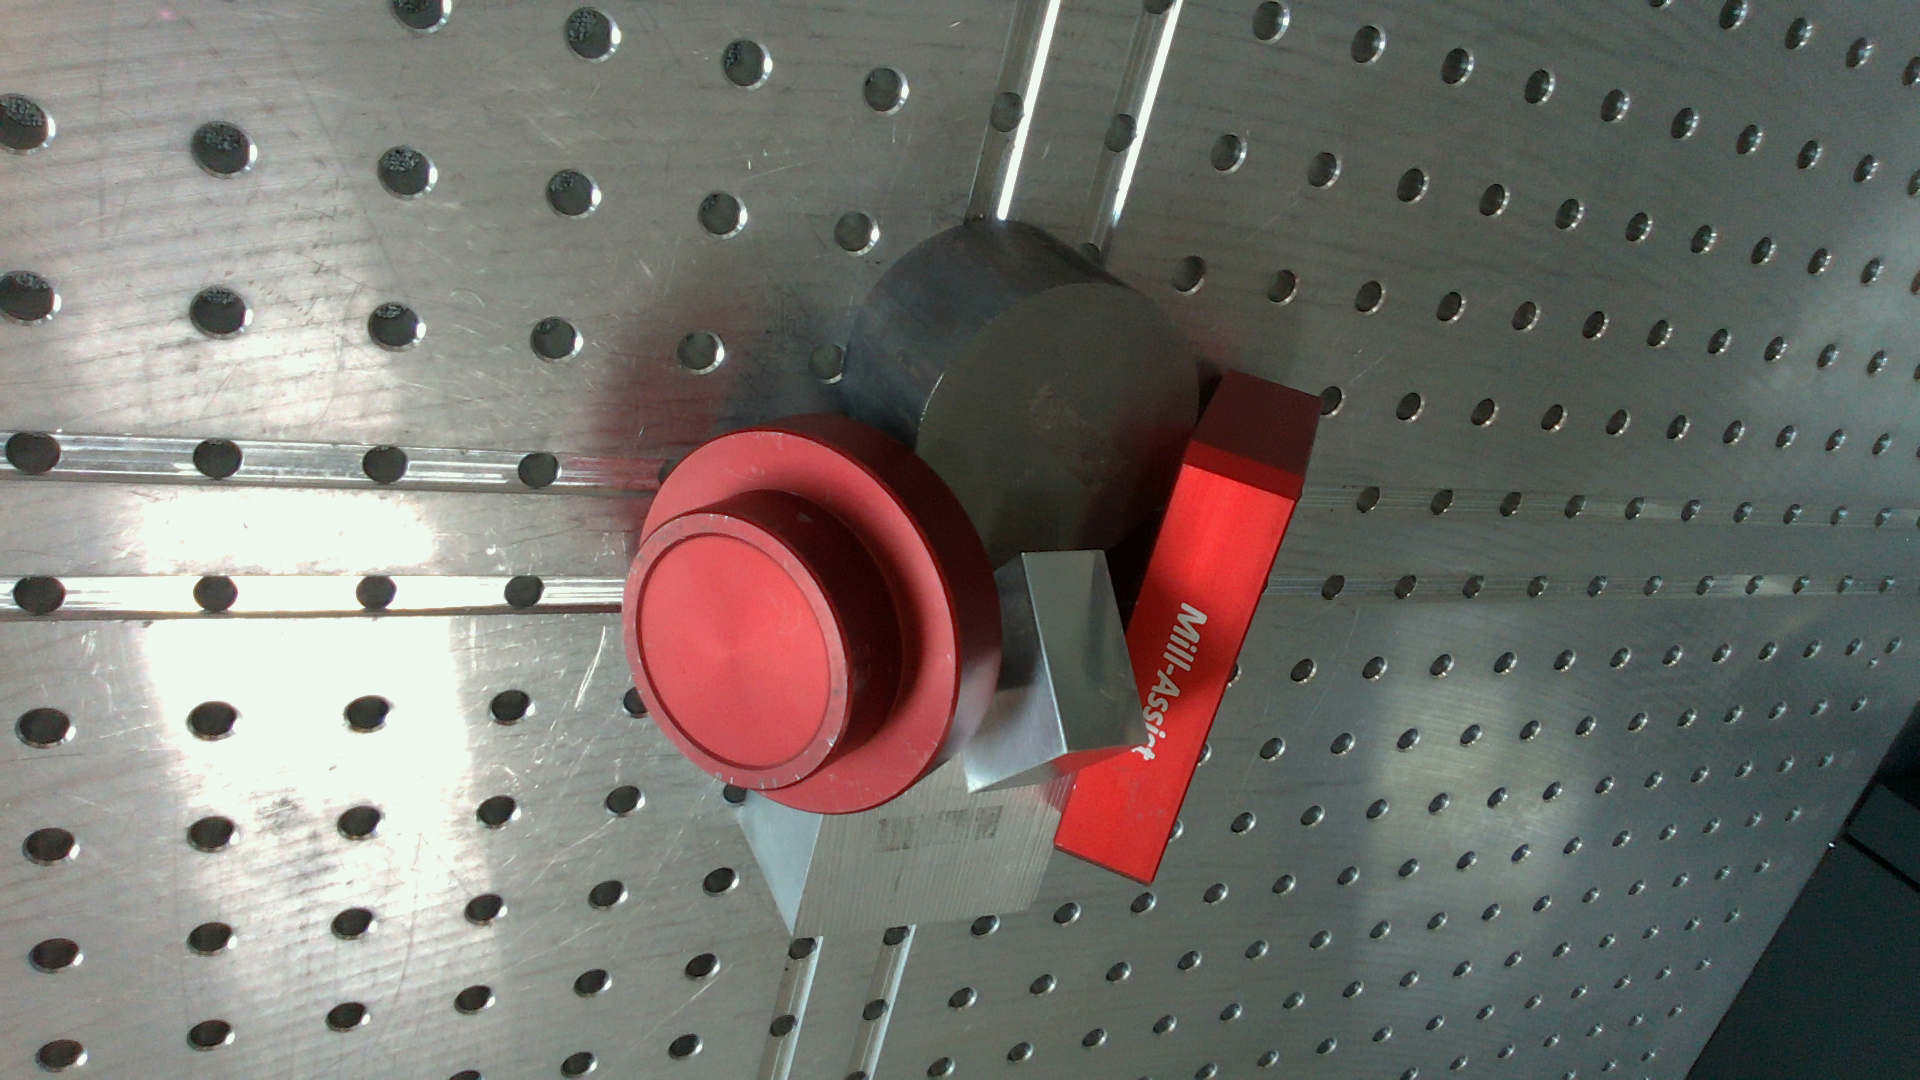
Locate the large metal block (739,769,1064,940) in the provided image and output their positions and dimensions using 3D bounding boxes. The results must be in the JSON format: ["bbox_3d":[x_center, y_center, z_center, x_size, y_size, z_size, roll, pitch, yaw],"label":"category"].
[{"bbox_3d":[-0.014,0.067,0.409,0.080,0.050,0.080,2,117,-29],"label":"large metal block"}]

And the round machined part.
[{"bbox_3d":[-0.043,0.022,0.330,0.042,0.098,0.098,-26,137,-56],"label":"round machined part"}]

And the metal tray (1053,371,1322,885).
[{"bbox_3d":[0.067,0.024,0.403,0.030,0.090,0.130,20,115,10],"label":"metal tray"}]

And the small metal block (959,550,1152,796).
[{"bbox_3d":[0.019,0.035,0.353,0.025,0.050,0.050,-2,162,-31],"label":"small metal block"}]

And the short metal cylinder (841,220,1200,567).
[{"bbox_3d":[0.015,-0.037,0.360,0.080,0.050,0.080,-14,124,-21],"label":"short metal cylinder"}]
